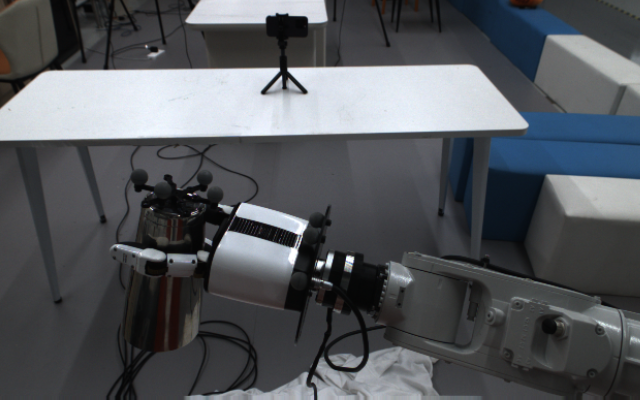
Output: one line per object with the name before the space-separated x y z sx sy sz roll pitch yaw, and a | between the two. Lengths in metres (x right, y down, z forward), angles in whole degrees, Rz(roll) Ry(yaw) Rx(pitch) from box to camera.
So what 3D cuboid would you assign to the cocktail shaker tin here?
cocktail shaker tin | -0.170 0.075 0.552 0.093 0.170 0.093 12 25 -6
